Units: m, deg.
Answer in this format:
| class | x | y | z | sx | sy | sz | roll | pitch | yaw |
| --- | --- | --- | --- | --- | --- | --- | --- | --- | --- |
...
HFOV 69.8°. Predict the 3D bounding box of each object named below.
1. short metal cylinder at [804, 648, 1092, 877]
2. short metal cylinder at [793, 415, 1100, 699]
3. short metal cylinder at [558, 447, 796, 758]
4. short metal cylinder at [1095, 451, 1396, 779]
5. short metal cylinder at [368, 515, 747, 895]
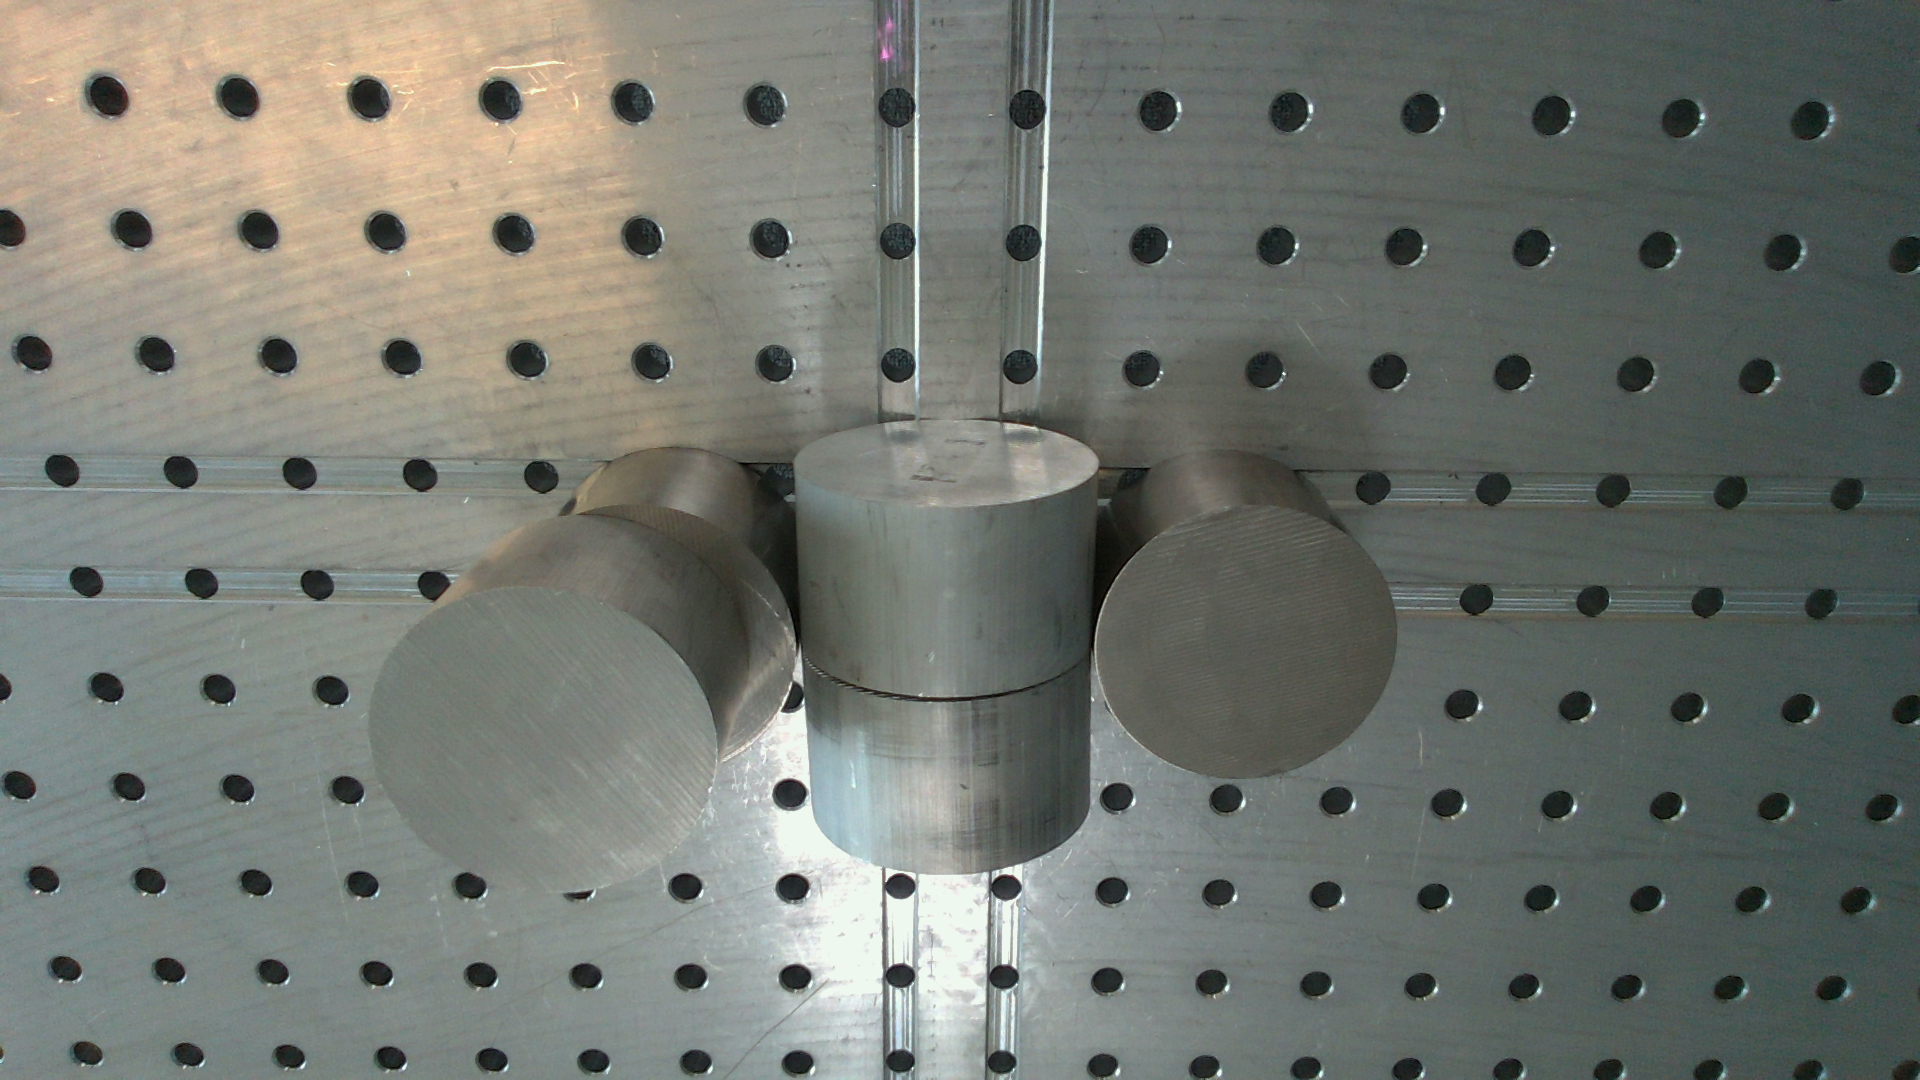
| class | x | y | z | sx | sy | sz | roll | pitch | yaw |
| --- | --- | --- | --- | --- | --- | --- | --- | --- | --- |
| short metal cylinder | -0.003 | 0.050 | 0.386 | 0.080 | 0.080 | 0.050 | -1 | 110 | 0 |
| short metal cylinder | -0.004 | 0.002 | 0.368 | 0.080 | 0.080 | 0.050 | 1 | 111 | 0 |
| short metal cylinder | -0.084 | 0.019 | 0.390 | 0.080 | 0.050 | 0.080 | 0 | 110 | 0 |
| short metal cylinder | 0.076 | 0.020 | 0.390 | 0.080 | 0.050 | 0.080 | 0 | 110 | 0 |
| short metal cylinder | -0.097 | 0.040 | 0.343 | 0.080 | 0.050 | 0.080 | 0 | 110 | 0 |
